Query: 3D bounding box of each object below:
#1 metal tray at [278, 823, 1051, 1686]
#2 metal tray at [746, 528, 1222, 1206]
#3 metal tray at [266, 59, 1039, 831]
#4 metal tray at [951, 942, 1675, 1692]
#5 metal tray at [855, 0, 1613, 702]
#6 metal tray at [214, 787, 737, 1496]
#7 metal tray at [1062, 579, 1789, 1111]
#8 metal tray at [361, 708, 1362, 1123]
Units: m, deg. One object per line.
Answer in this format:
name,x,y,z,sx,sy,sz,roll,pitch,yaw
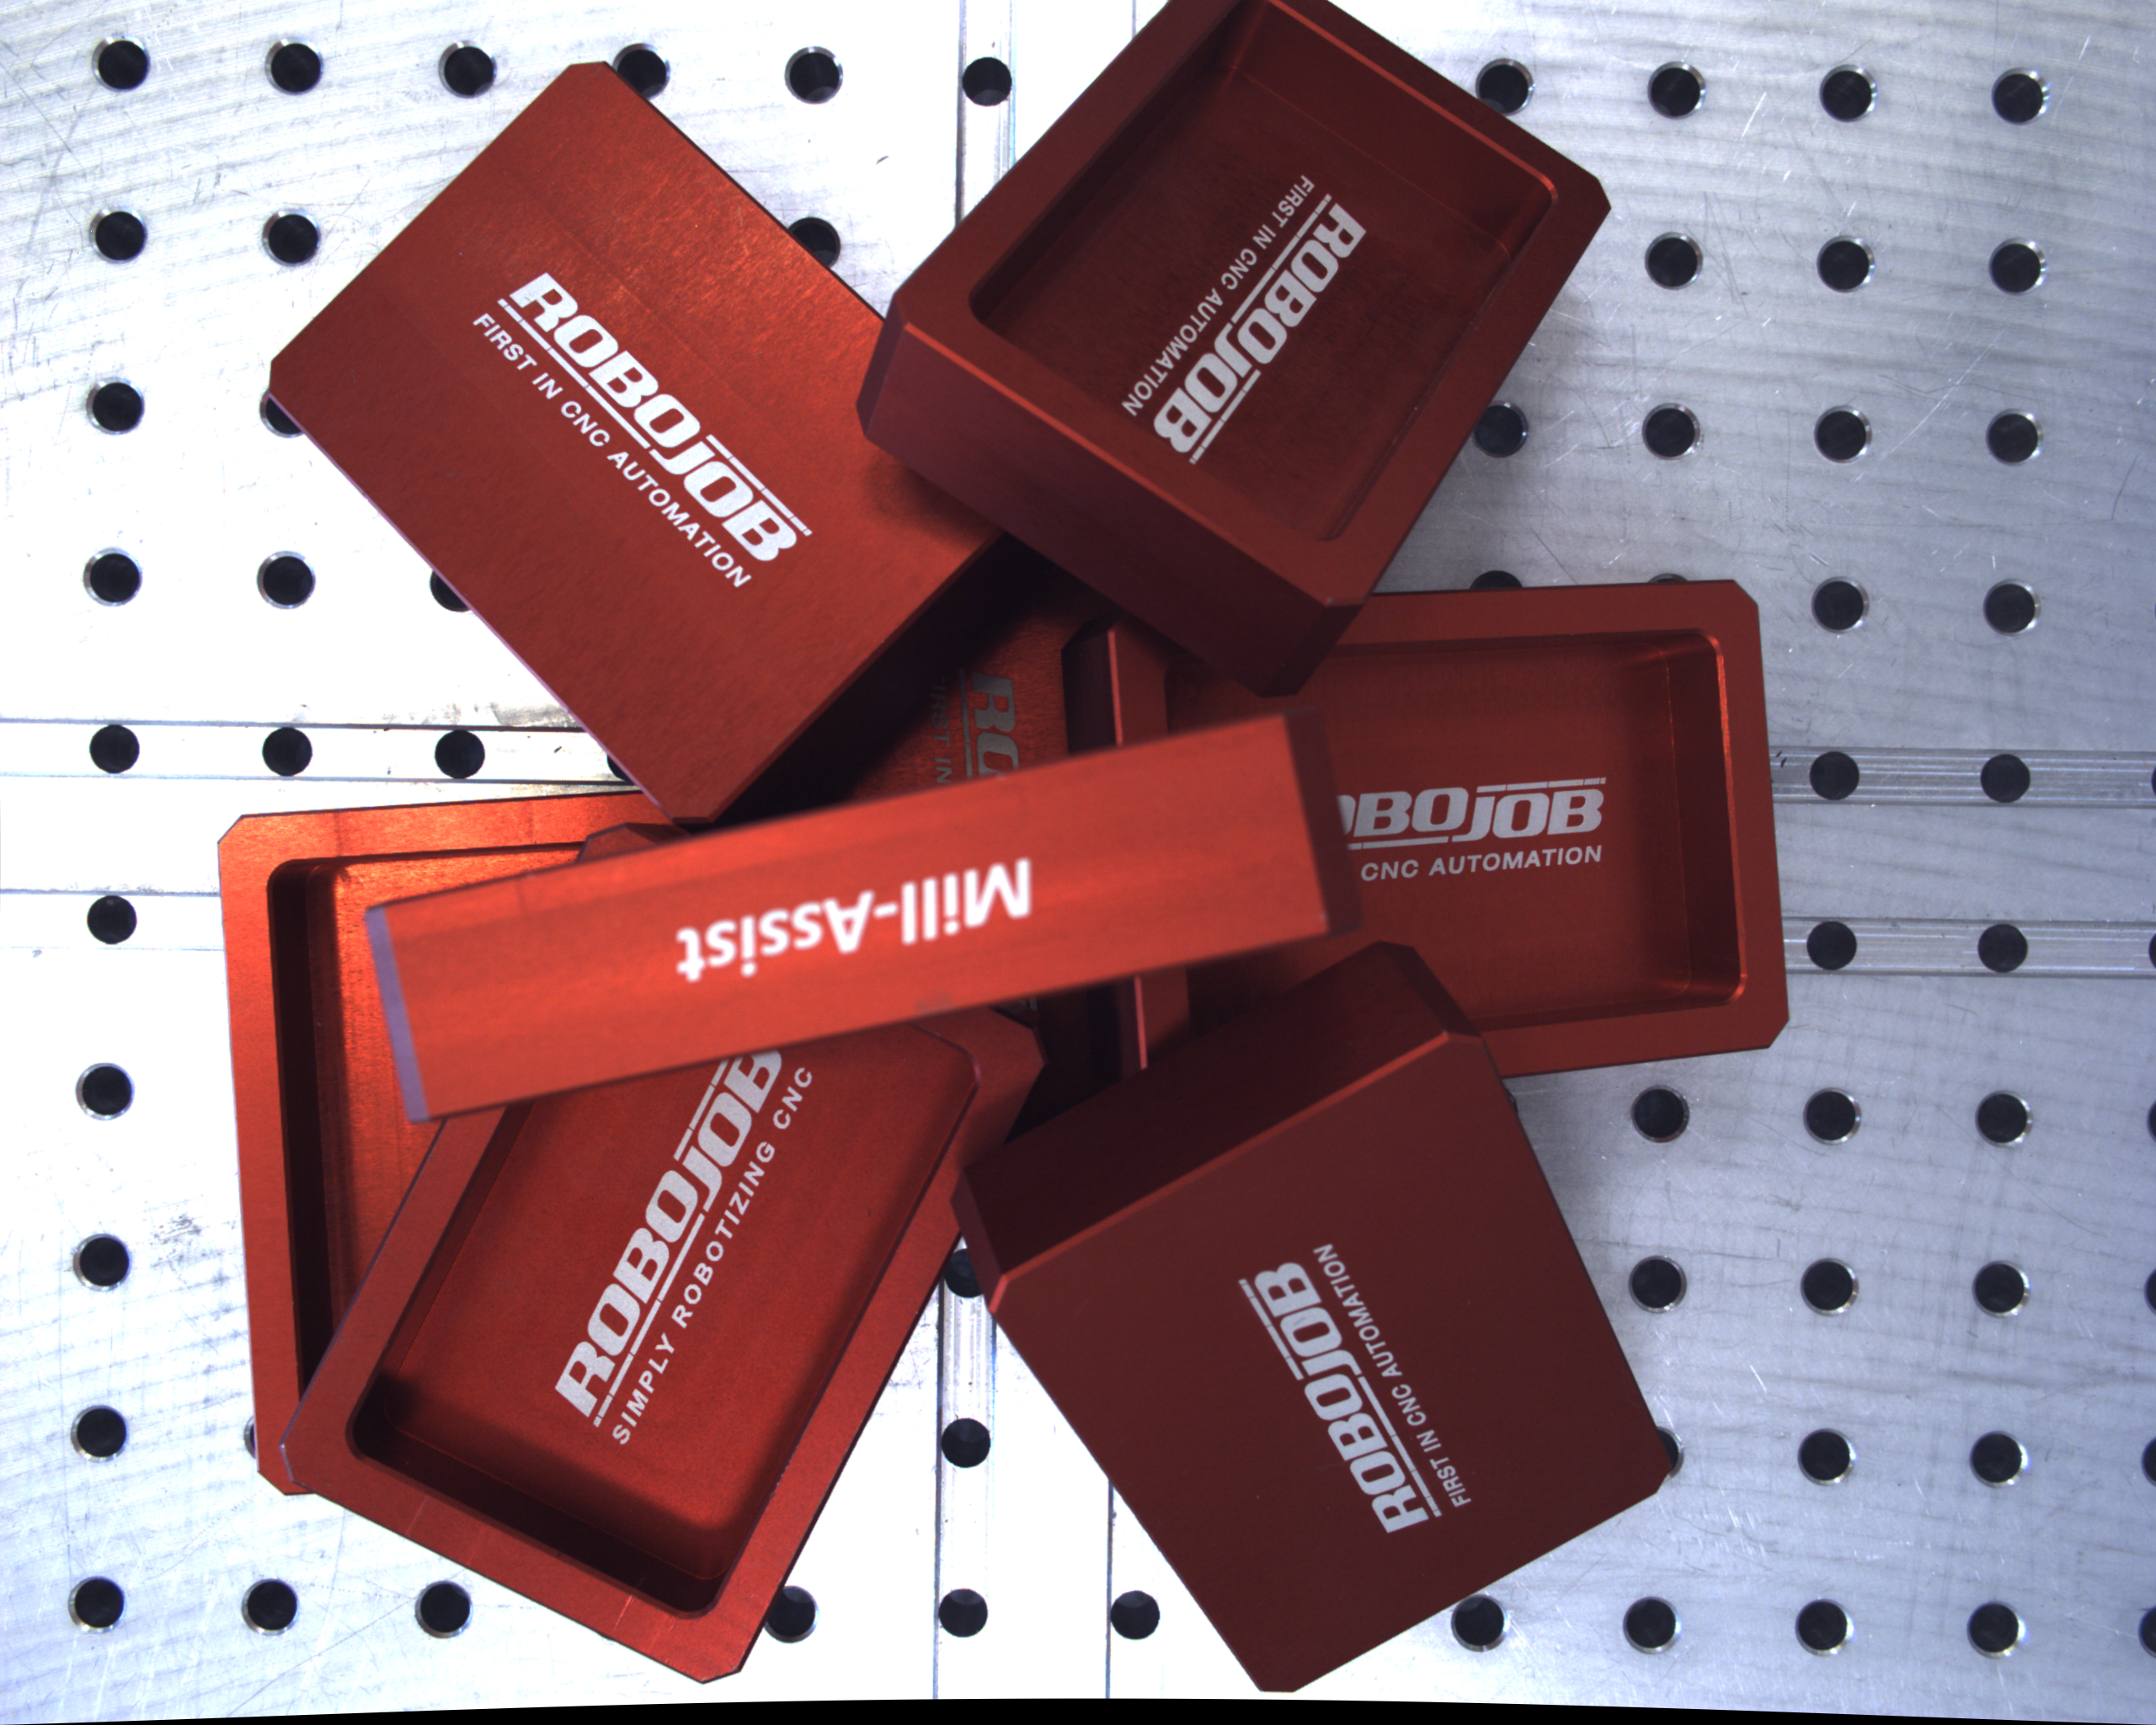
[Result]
metal tray,-0.073,0.069,0.380,0.090,0.030,0.130,27,90,0
metal tray,-0.018,0.000,0.410,0.091,0.030,0.129,-4,88,-2
metal tray,-0.078,-0.077,0.394,0.090,0.030,0.130,-45,75,0
metal tray,0.046,0.087,0.378,0.090,0.030,0.130,-29,123,0
metal tray,0.032,-0.101,0.377,0.090,0.030,0.130,34,57,0
metal tray,-0.115,0.052,0.410,0.090,0.030,0.129,-4,89,-1
metal tray,0.067,-0.005,0.393,0.131,0.030,0.090,-4,90,-17
metal tray,-0.027,0.007,0.316,0.131,0.090,0.030,-12,90,4
